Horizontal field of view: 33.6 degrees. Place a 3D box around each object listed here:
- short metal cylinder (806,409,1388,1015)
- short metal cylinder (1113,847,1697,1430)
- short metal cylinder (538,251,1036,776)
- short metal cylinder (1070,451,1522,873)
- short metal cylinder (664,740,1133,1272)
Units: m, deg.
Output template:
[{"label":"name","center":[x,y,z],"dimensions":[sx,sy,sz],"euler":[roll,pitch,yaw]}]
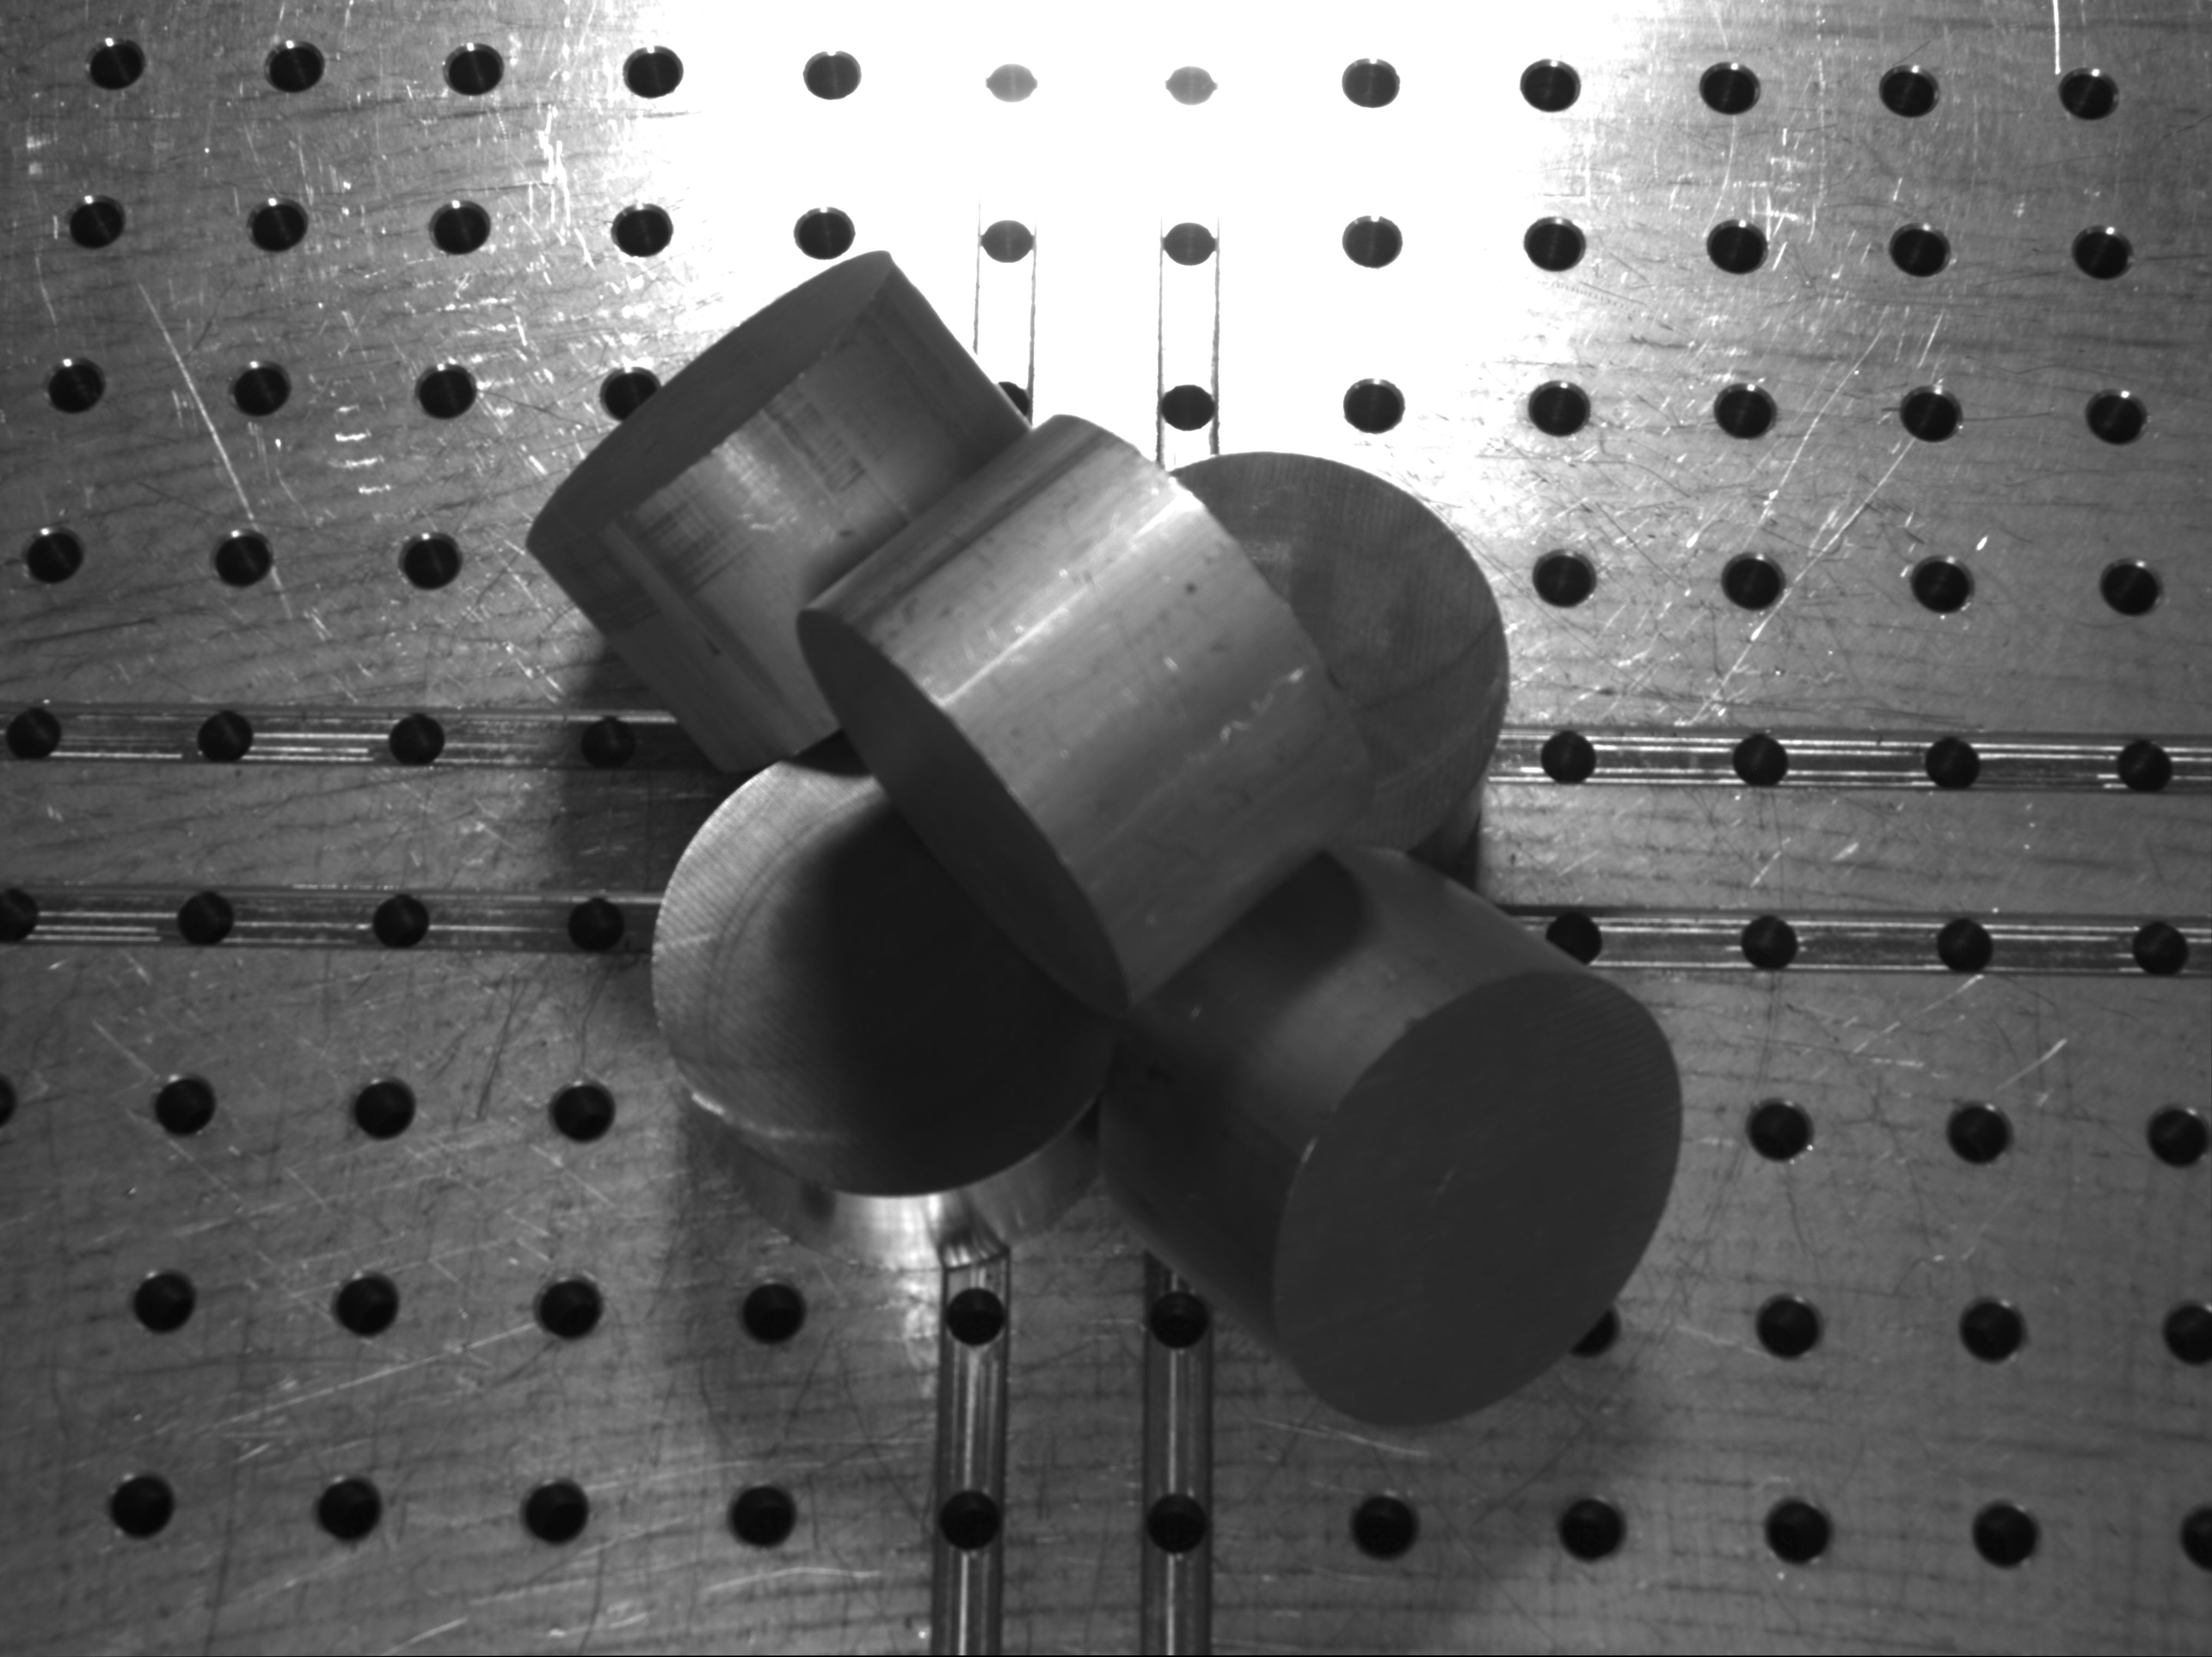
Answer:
[{"label":"short metal cylinder","center":[-0.002,-0.018,0.570],"dimensions":[0.050,0.080,0.080],"euler":[-39,74,-13]},{"label":"short metal cylinder","center":[0.048,0.050,0.592],"dimensions":[0.080,0.080,0.050],"euler":[-39,39,-13]},{"label":"short metal cylinder","center":[-0.051,-0.054,0.631],"dimensions":[0.080,0.080,0.050],"euler":[-44,110,-14]},{"label":"short metal cylinder","center":[0.030,-0.019,0.640],"dimensions":[0.080,0.050,0.080],"euler":[0,70,0]},{"label":"short metal cylinder","center":[-0.032,0.030,0.622],"dimensions":[0.080,0.050,0.080],"euler":[0,70,0]}]
